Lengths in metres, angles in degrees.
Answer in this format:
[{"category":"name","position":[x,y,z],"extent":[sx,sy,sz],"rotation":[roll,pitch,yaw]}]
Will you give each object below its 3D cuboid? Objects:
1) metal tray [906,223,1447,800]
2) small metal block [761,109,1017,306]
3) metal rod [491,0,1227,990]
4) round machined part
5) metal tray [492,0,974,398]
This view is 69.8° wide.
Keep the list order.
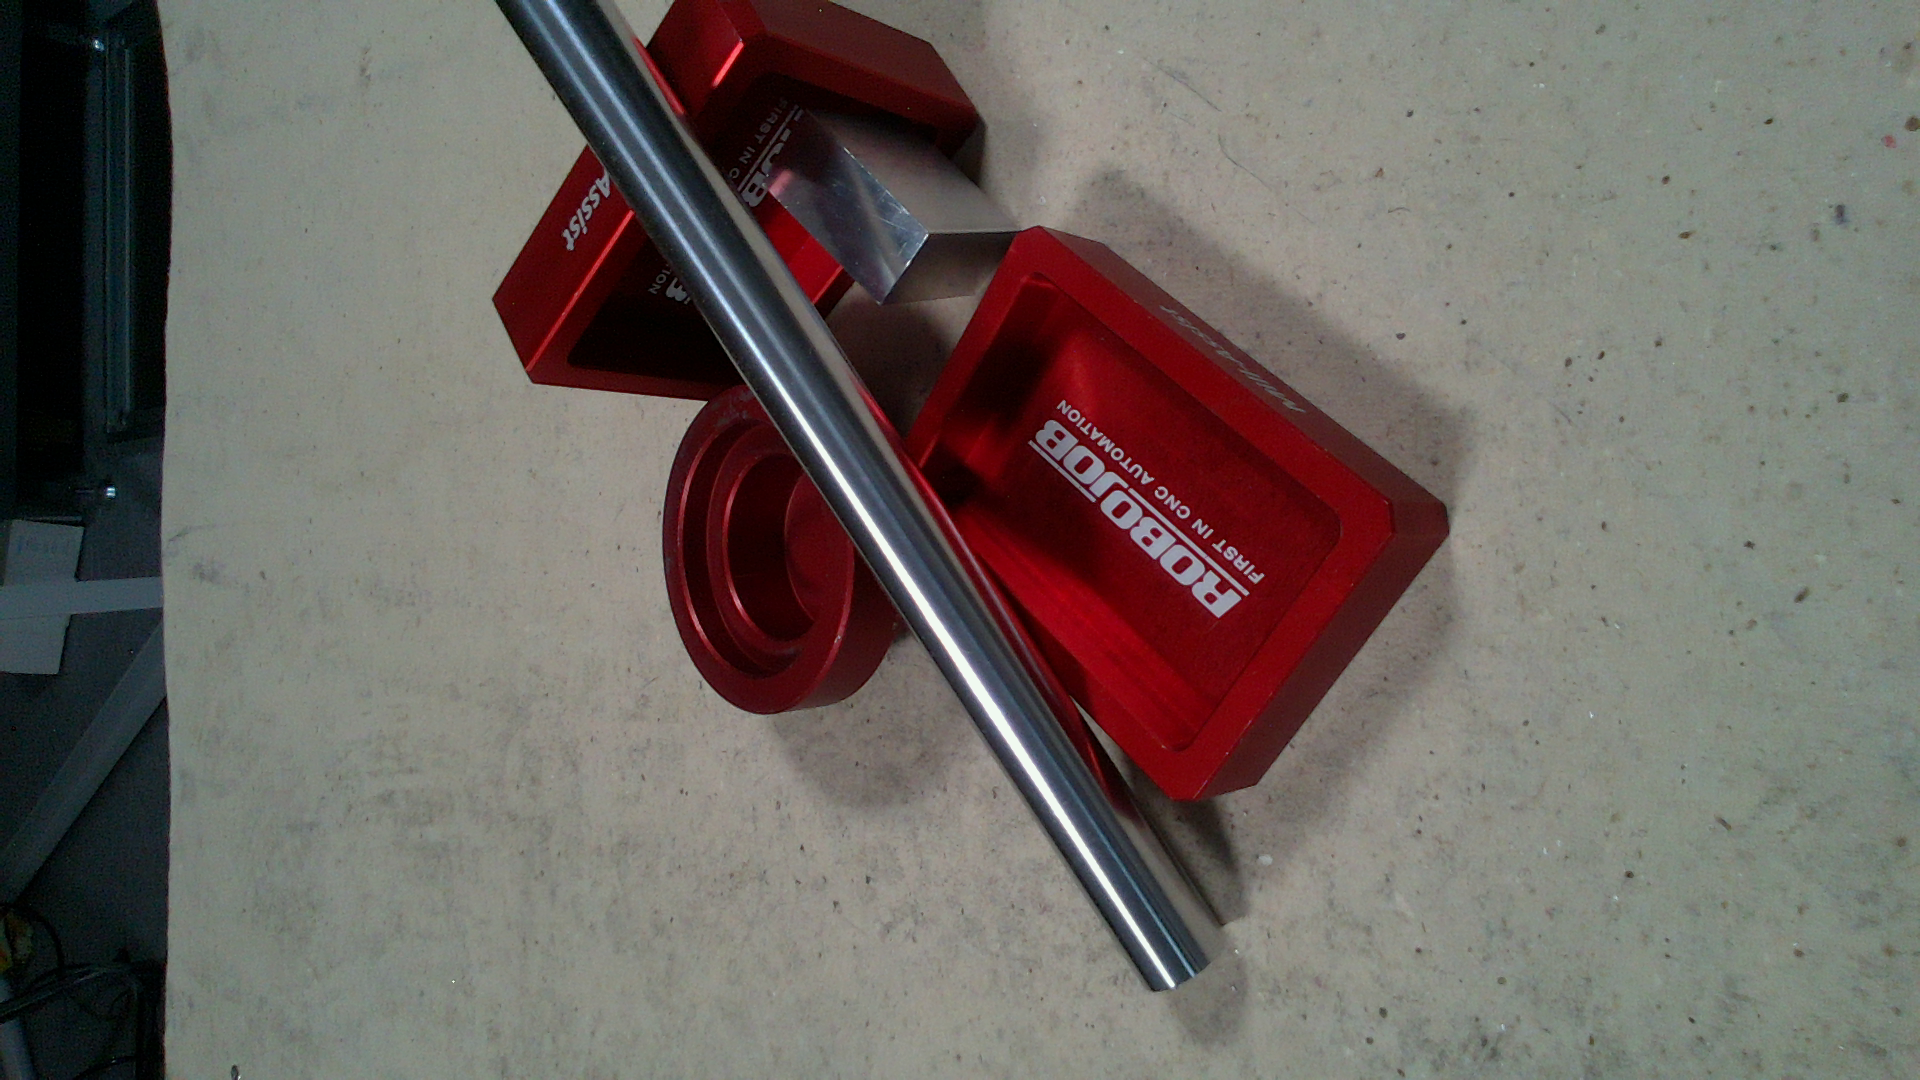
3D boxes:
[{"category":"metal tray","position":[0.045,-0.010,0.354],"extent":[0.130,0.030,0.090],"rotation":[45,117,31]},{"category":"small metal block","position":[-0.019,-0.094,0.388],"extent":[0.050,0.050,0.025],"rotation":[47,121,14]},{"category":"metal rod","position":[-0.026,-0.019,0.346],"extent":[0.025,0.025,0.300],"rotation":[-33,92,35]},{"category":"round machined part","position":[-0.047,0.002,0.419],"extent":[0.098,0.042,0.098],"rotation":[5,97,46]},{"category":"metal tray","position":[-0.068,-0.097,0.408],"extent":[0.130,0.090,0.030],"rotation":[-45,63,31]}]
